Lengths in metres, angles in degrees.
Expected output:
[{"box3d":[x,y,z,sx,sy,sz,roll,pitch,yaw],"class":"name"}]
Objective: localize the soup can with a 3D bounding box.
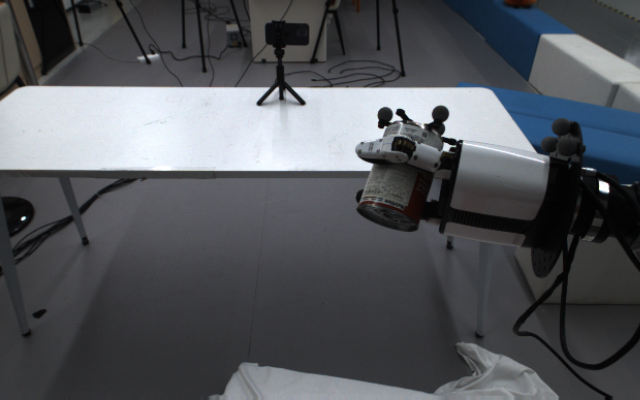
[{"box3d":[0.087,-0.029,0.524,0.067,0.067,0.101,16,74,19],"class":"soup can"}]
